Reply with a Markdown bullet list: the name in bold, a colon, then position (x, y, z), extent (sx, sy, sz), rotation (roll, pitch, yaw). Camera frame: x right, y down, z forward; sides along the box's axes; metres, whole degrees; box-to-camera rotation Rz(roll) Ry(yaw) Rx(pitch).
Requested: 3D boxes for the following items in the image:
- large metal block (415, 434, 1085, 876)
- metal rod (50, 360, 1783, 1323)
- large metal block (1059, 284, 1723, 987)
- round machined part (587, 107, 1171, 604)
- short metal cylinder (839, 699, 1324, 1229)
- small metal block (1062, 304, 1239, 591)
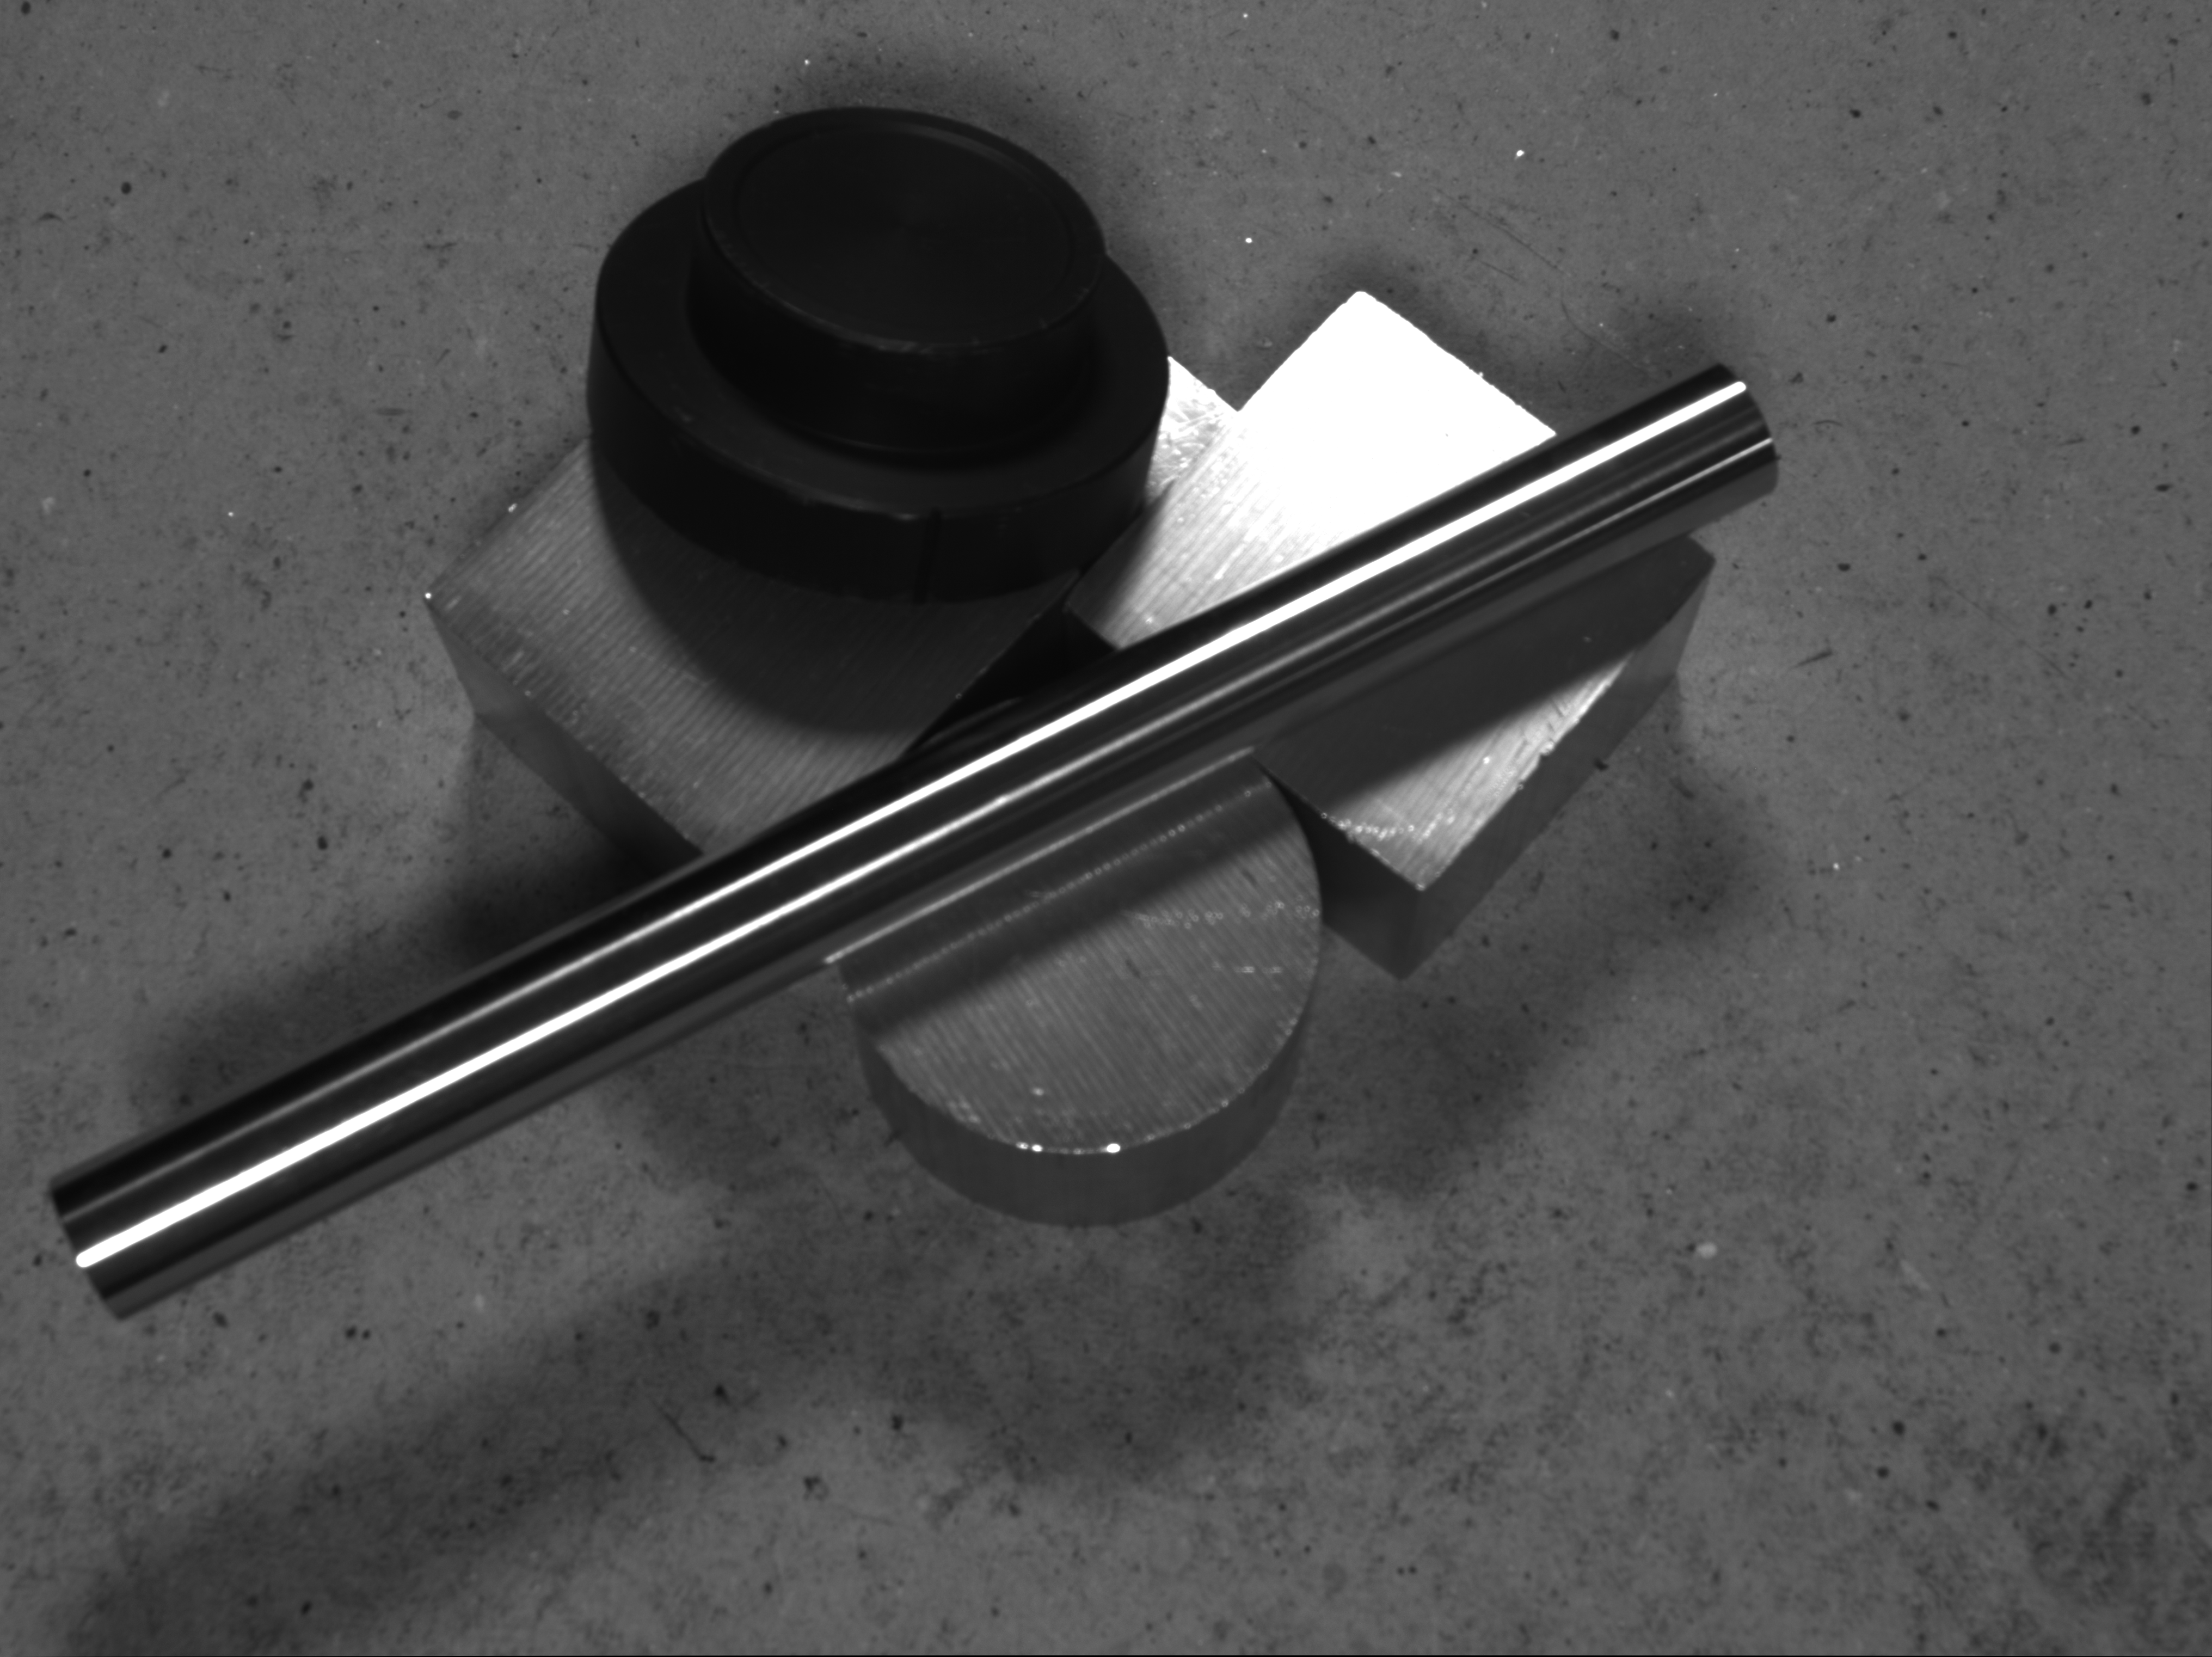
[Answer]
- **large metal block**: position (-0.060, -0.033, 0.643), extent (0.080, 0.050, 0.080), rotation (40, 75, 13)
- **metal rod**: position (-0.025, -0.001, 0.592), extent (0.300, 0.025, 0.025), rotation (-27, 72, -9)
- **large metal block**: position (0.049, -0.034, 0.644), extent (0.080, 0.050, 0.080), rotation (40, 75, 13)
- **round machined part**: position (-0.037, -0.086, 0.620), extent (0.098, 0.042, 0.098), rotation (8, 43, -7)
- **short metal cylinder**: position (-0.004, 0.023, 0.623), extent (0.080, 0.050, 0.080), rotation (0, 70, 0)
- **small metal block**: position (-0.005, -0.066, 0.668), extent (0.050, 0.025, 0.050), rotation (41, 75, 14)
